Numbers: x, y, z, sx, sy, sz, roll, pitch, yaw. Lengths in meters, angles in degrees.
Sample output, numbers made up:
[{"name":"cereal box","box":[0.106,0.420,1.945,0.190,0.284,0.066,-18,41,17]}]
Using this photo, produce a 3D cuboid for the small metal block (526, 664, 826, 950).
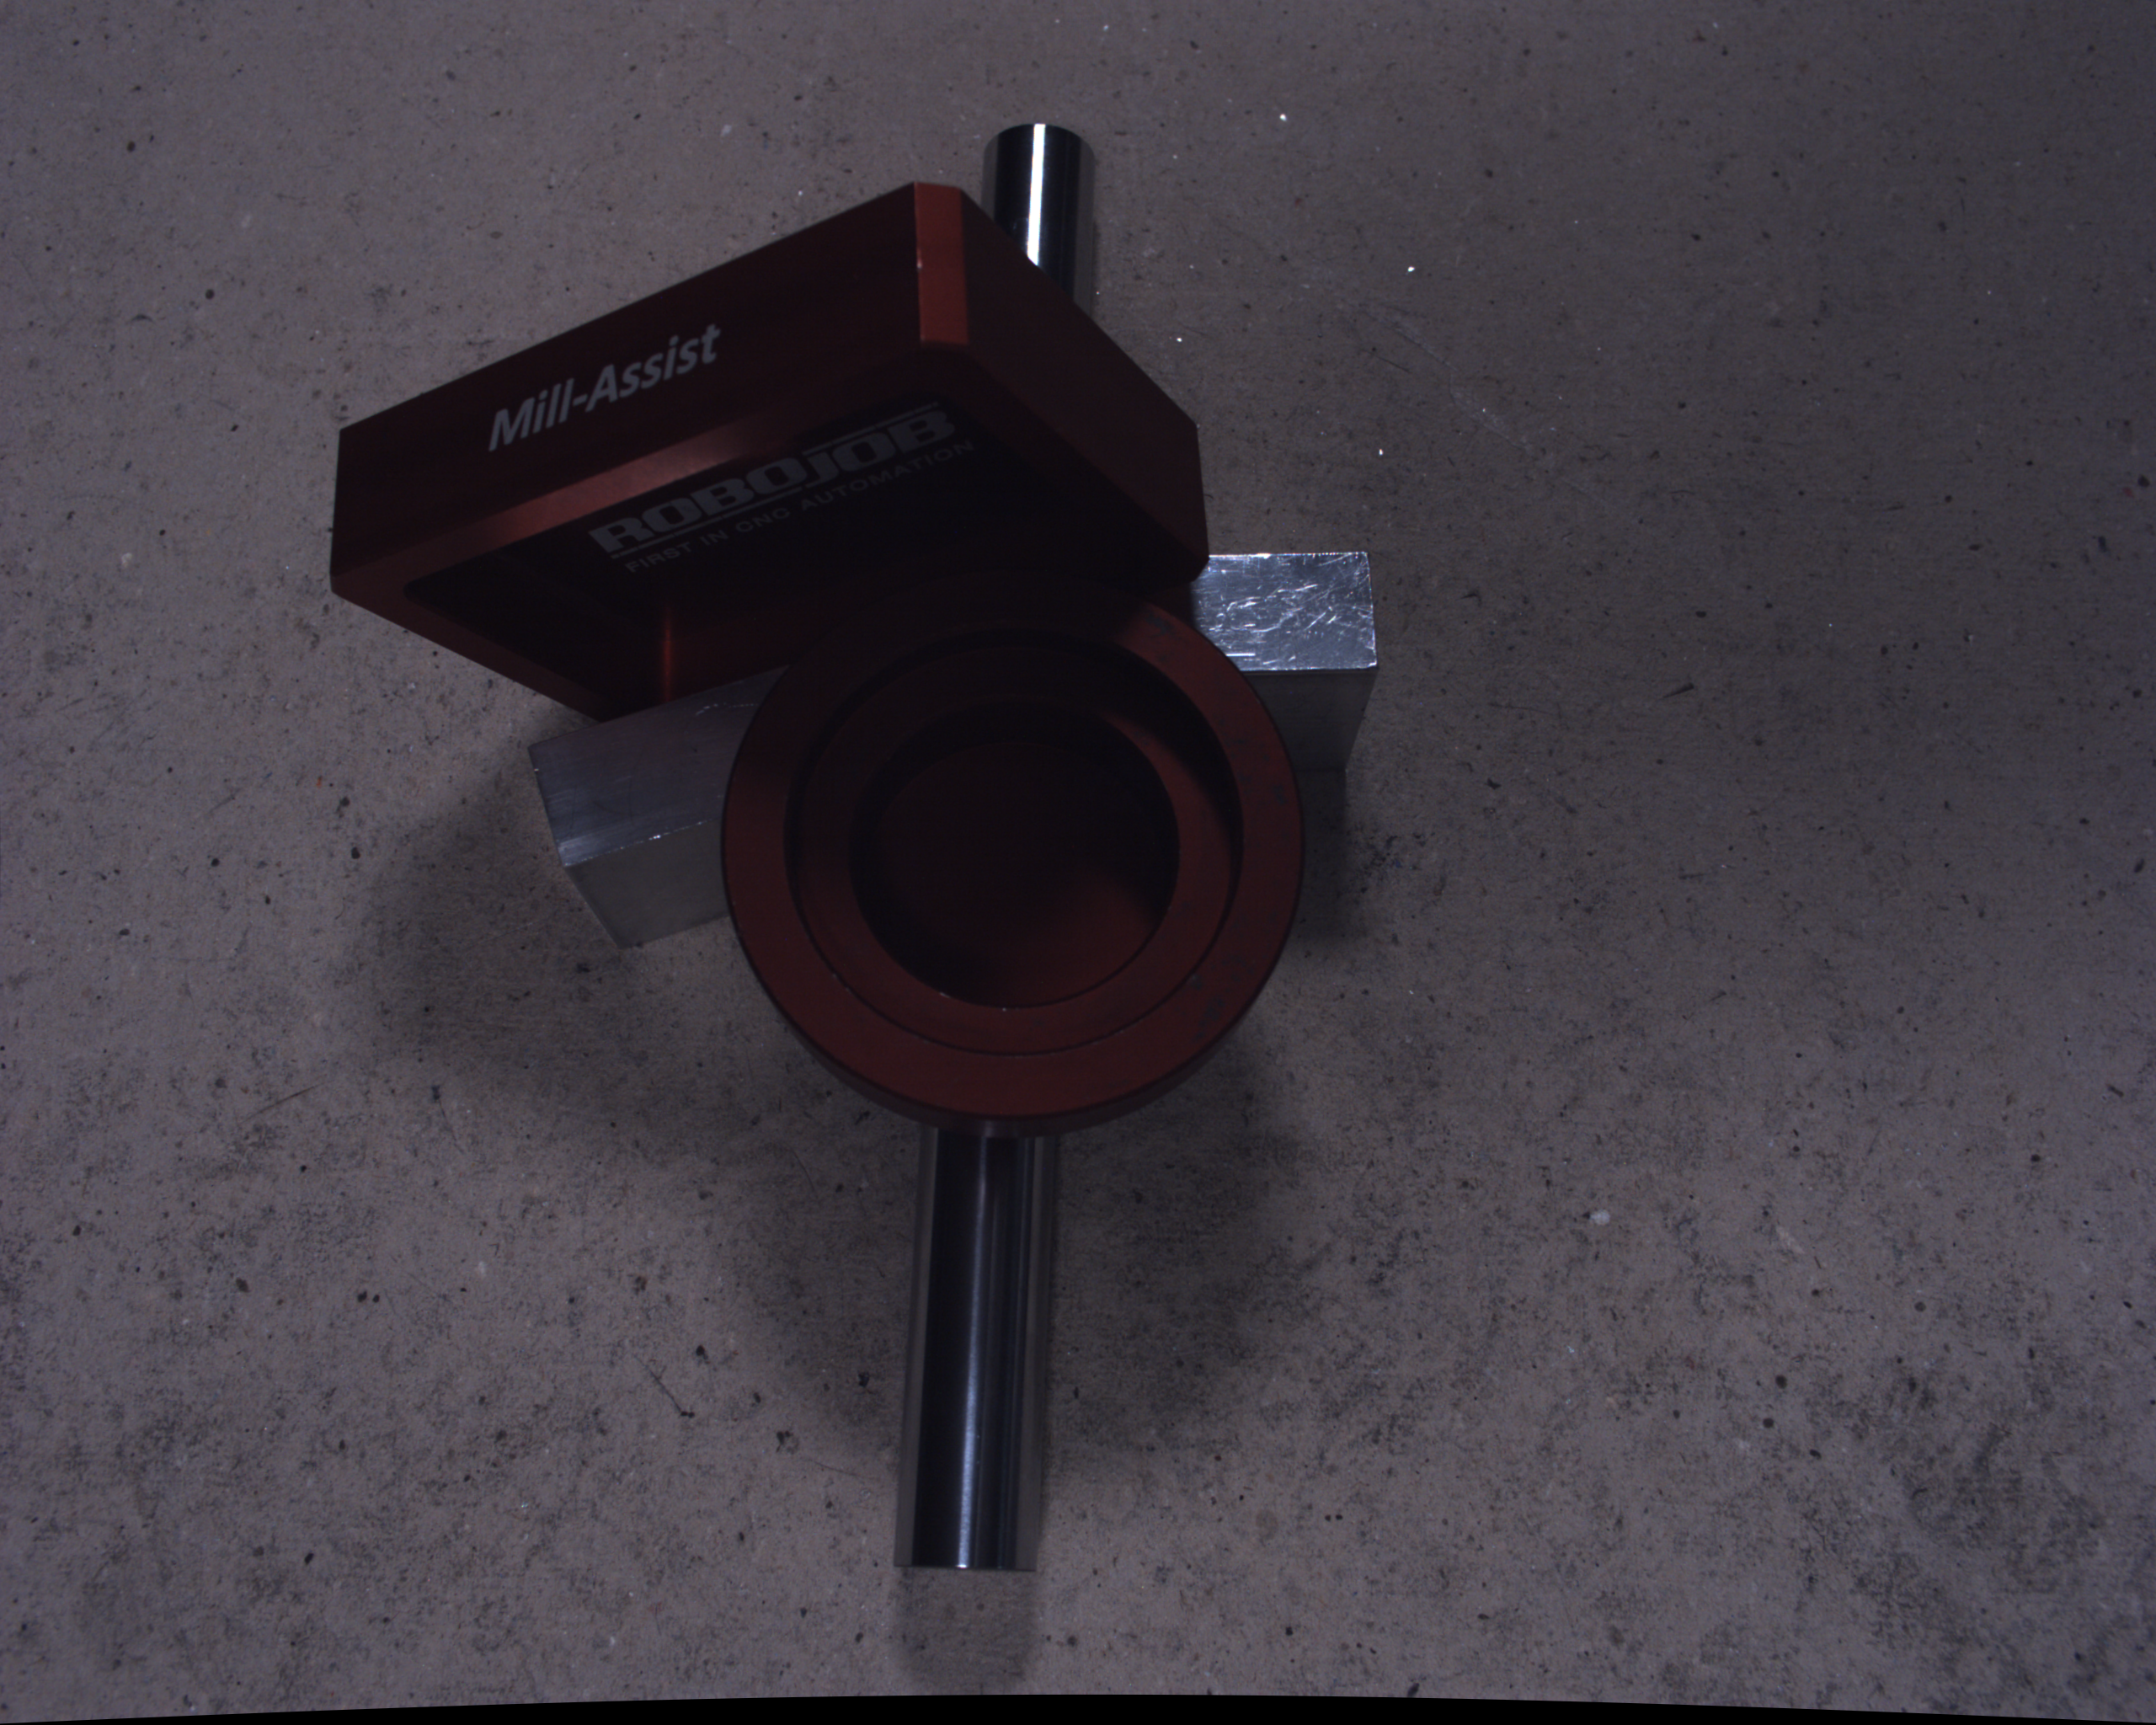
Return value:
[{"name":"small metal block","box":[-0.072,-0.010,0.399,0.050,0.050,0.025,-18,71,-7]}]

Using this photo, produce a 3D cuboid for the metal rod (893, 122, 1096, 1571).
[{"name":"metal rod","box":[-0.014,-0.017,0.415,0.025,0.025,0.299,2,70,0]}]

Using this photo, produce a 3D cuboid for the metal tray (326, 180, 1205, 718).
[{"name":"metal tray","box":[-0.055,-0.064,0.373,0.130,0.090,0.030,-15,67,26]}]

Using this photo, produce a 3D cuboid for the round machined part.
[{"name":"round machined part","box":[-0.011,0.000,0.371,0.099,0.042,0.098,1,73,-2]}]

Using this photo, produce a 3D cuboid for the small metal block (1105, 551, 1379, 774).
[{"name":"small metal block","box":[0.030,-0.038,0.410,0.050,0.050,0.025,-1,70,-1]}]
